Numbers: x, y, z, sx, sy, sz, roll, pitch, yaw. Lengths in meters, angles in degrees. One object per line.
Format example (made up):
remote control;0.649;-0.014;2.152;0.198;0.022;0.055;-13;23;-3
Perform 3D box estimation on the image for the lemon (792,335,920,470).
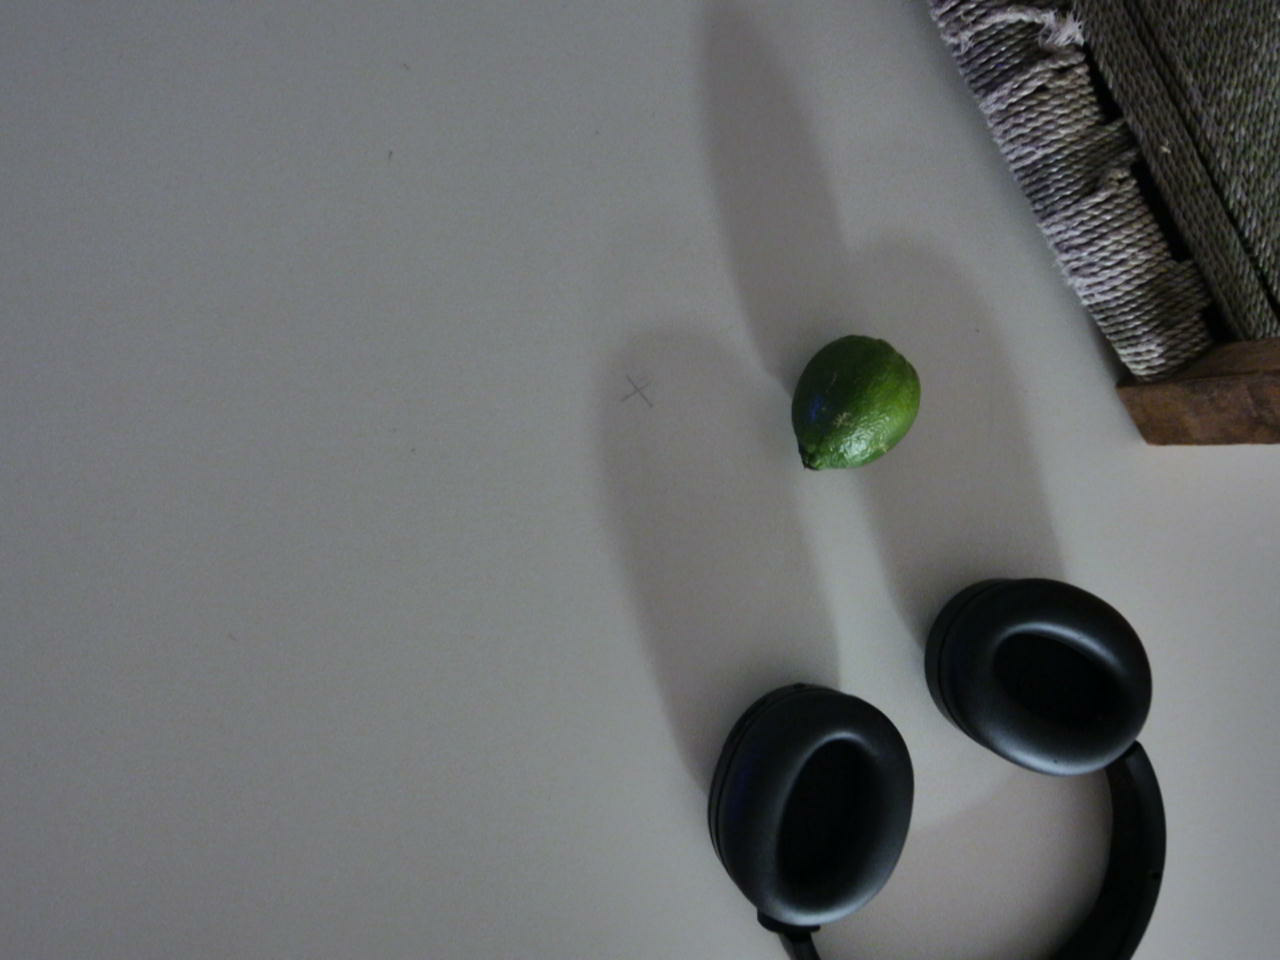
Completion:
lemon;0.093;-0.034;0.434;0.054;0.051;0.057;-5;91;-11
